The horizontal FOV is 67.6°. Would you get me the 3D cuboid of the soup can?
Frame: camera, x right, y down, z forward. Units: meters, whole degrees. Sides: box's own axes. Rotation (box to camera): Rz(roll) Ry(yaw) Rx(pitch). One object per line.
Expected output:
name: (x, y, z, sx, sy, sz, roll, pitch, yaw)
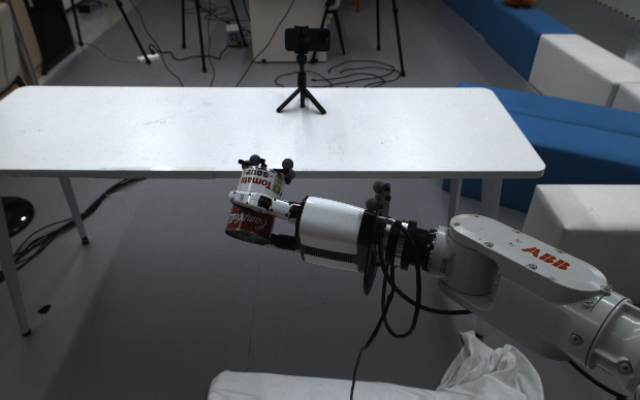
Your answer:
soup can: (-0.095, 0.008, 0.719, 0.067, 0.067, 0.101, 9, 72, 10)
